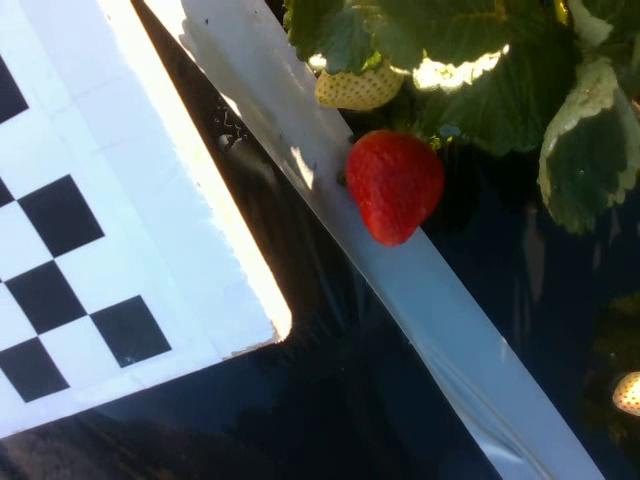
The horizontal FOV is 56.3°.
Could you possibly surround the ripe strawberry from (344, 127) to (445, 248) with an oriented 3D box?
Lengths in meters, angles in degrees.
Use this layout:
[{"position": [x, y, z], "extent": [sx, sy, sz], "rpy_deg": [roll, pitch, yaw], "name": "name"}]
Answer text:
[{"position": [0.029, -0.021, 0.242], "extent": [0.045, 0.063, 0.048], "rpy_deg": [3, -43, 13], "name": "ripe strawberry"}]
